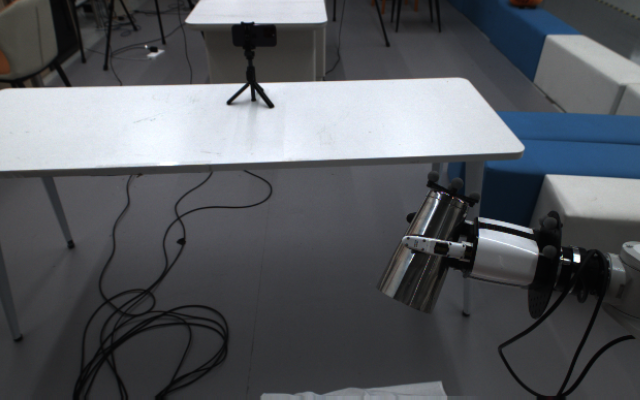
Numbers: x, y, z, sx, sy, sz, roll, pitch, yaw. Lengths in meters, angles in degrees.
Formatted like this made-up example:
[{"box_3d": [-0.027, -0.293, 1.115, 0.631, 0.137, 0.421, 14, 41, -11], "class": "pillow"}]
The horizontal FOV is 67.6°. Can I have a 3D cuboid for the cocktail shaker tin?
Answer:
[{"box_3d": [0.164, 0.071, 0.734, 0.093, 0.170, 0.093, 23, -1, 0], "class": "cocktail shaker tin"}]
